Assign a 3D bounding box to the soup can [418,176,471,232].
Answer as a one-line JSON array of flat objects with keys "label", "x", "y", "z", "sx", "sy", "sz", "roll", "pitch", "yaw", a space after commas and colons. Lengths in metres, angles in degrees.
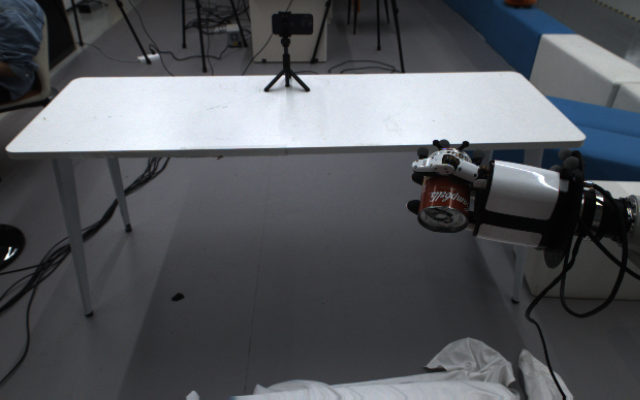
[{"label": "soup can", "x": 0.177, "y": -0.015, "z": 0.675, "sx": 0.067, "sy": 0.067, "sz": 0.101, "roll": 9, "pitch": 58, "yaw": 10}]
